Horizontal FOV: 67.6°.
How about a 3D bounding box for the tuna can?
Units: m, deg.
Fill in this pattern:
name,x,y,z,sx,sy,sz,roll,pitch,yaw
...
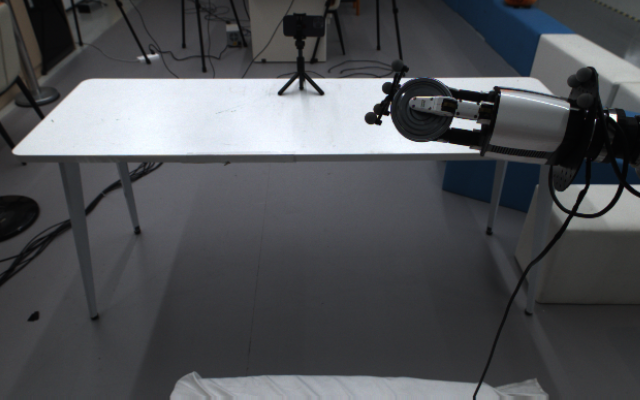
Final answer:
name,x,y,z,sx,sy,sz,roll,pitch,yaw
tuna can,0.140,-0.126,0.662,0.085,0.085,0.034,9,4,10
